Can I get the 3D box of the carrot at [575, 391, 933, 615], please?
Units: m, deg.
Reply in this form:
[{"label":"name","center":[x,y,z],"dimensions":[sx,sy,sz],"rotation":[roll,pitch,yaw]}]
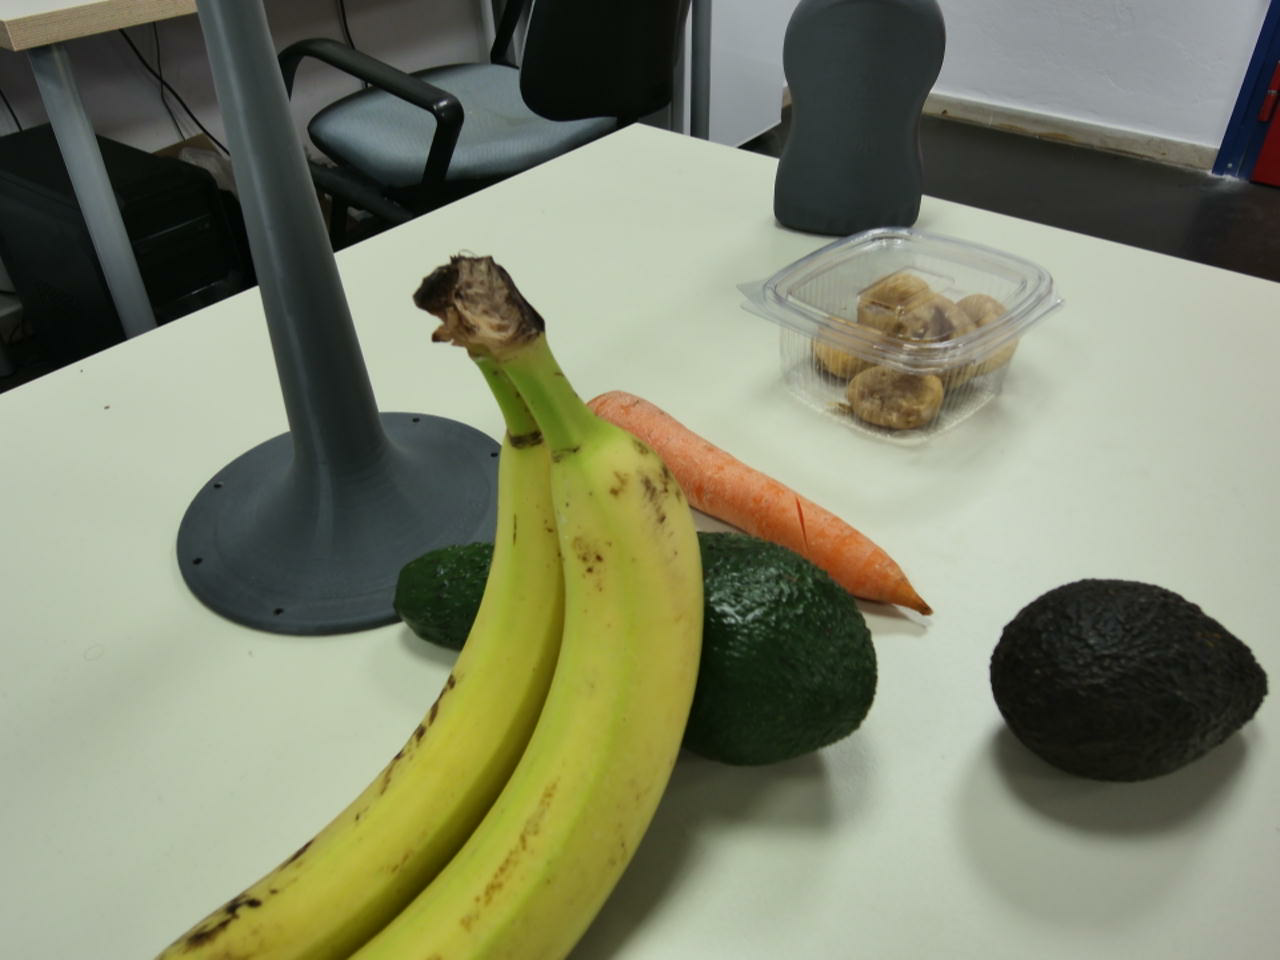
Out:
[{"label":"carrot","center":[0.049,0.006,0.460],"dimensions":[0.196,0.041,0.039],"rotation":[27,44,31]}]
